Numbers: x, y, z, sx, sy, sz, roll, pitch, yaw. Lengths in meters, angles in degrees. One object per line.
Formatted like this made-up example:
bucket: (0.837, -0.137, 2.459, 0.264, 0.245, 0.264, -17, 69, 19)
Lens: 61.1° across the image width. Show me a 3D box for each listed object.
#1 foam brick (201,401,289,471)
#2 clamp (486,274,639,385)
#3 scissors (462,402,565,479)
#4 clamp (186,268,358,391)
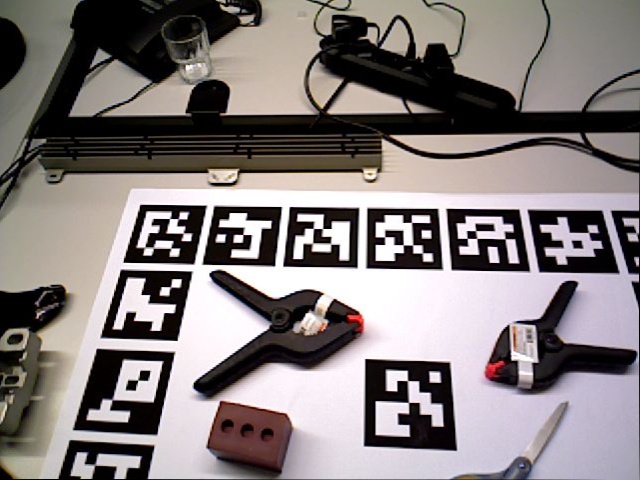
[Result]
foam brick: (-0.080, 0.213, 0.589, 0.078, 0.052, 0.052, 6, 59, 13)
clamp: (0.269, 0.119, 0.632, 0.163, 0.037, 0.121, -23, 66, -9)
scissors: (0.199, 0.241, 0.565, 0.087, 0.016, 0.199, 40, 67, 17)
clamp: (-0.055, 0.102, 0.663, 0.202, 0.037, 0.163, -2, 55, 2)
